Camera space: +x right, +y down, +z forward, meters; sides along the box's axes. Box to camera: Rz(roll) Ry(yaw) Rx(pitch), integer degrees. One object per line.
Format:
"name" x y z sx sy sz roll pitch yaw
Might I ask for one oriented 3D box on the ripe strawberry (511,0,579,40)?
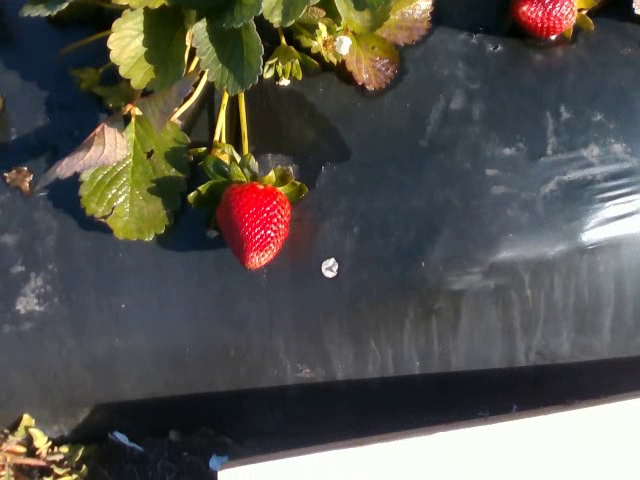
"ripe strawberry" 0.116 -0.123 0.289 0.046 0.035 0.035 -8 -7 -13

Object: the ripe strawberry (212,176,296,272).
"ripe strawberry" -0.032 -0.005 0.270 0.045 0.055 0.042 0 -38 -8
